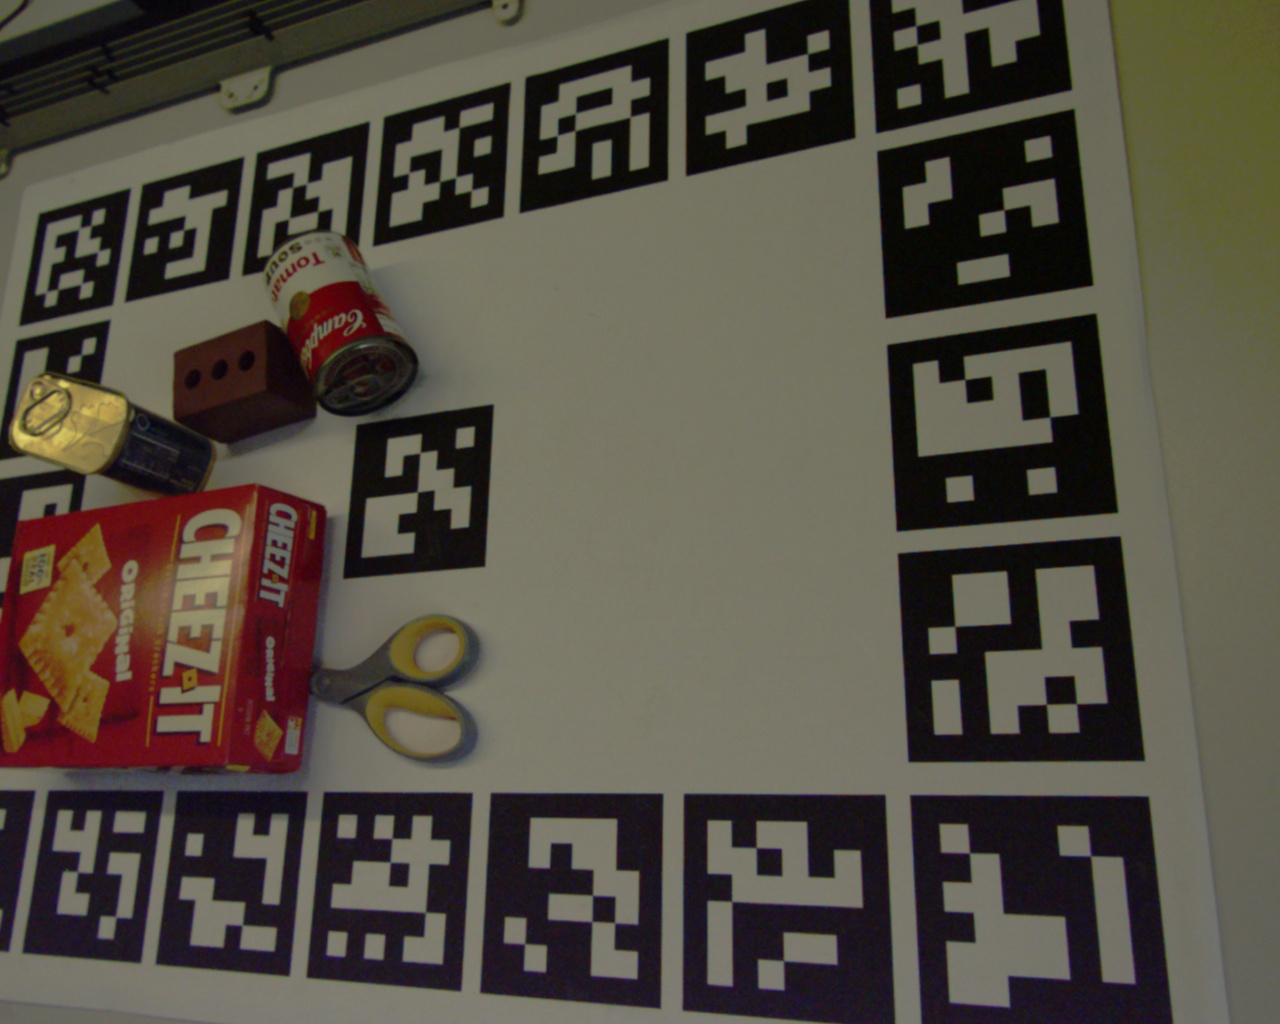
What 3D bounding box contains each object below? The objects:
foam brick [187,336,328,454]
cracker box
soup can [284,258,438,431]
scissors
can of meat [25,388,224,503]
[{"bbox_3d":[-0.262,-0.079,0.783,0.079,0.051,0.053,-16,72,20],"label":"foam brick"},{"bbox_3d":[-0.313,0.087,0.736,0.216,0.071,0.164,-12,72,25],"label":"cracker box"},{"bbox_3d":[-0.187,-0.113,0.756,0.068,0.067,0.103,-42,59,10],"label":"soup can"},{"bbox_3d":[-0.195,0.118,0.709,0.205,0.015,0.088,-10,74,22],"label":"scissors"},{"bbox_3d":[-0.358,-0.044,0.797,0.103,0.083,0.058,10,82,26],"label":"can of meat"}]
